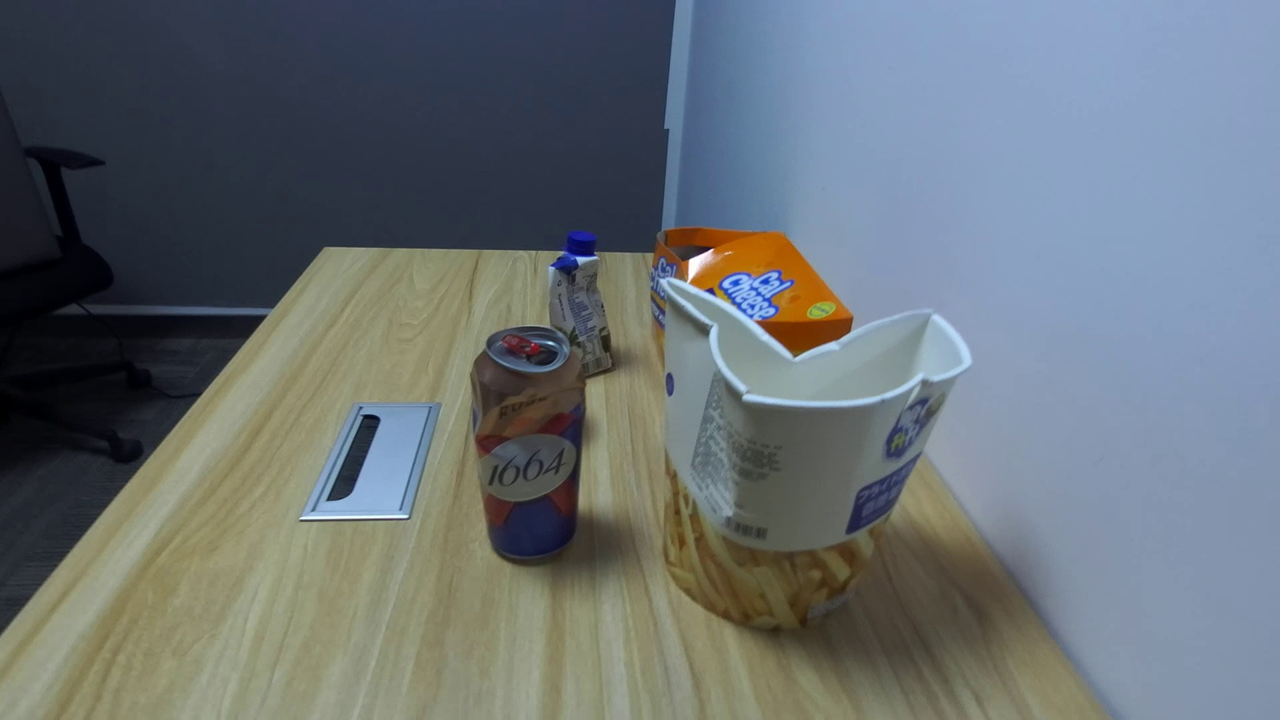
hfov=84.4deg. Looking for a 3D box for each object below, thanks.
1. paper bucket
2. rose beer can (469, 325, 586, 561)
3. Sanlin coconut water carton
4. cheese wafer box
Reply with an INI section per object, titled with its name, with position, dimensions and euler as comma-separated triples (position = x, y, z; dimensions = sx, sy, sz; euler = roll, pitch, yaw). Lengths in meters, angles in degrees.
[paper bucket]
position = 0.104, 0.058, 0.480
dimensions = 0.163, 0.202, 0.168
euler = -4, 33, -15
[rose beer can]
position = -0.077, 0.062, 0.491
dimensions = 0.076, 0.167, 0.065
euler = -4, 33, -16
[Sanlin coconut water carton]
position = -0.069, -0.056, 0.720
dimensions = 0.069, 0.145, 0.056
euler = -24, 31, -26
[cheese wafer box]
position = 0.096, -0.034, 0.710
dimensions = 0.152, 0.132, 0.230
euler = -2, 31, -7
